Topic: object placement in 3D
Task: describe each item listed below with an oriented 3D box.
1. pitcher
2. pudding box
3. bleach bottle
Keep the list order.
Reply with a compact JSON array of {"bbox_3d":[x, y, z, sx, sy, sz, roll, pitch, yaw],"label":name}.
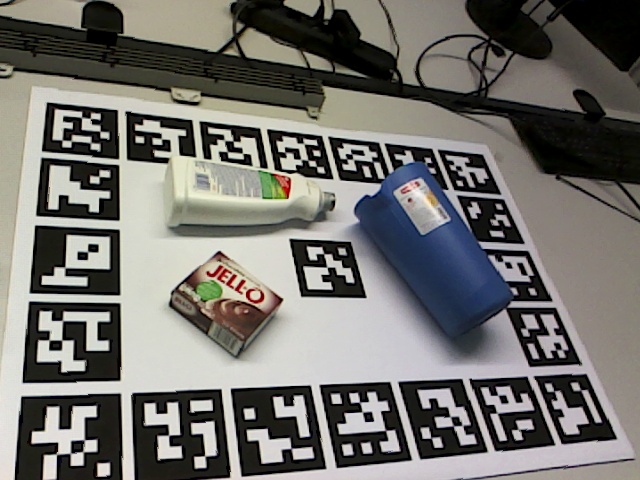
[{"bbox_3d":[0.176,0.033,0.930,0.243,0.133,0.188,58,19,17],"label":"pitcher"},{"bbox_3d":[-0.114,0.082,0.790,0.114,0.039,0.090,40,42,7],"label":"pudding box"},{"bbox_3d":[-0.088,-0.059,0.906,0.249,0.068,0.103,2,57,-25],"label":"bleach bottle"}]
